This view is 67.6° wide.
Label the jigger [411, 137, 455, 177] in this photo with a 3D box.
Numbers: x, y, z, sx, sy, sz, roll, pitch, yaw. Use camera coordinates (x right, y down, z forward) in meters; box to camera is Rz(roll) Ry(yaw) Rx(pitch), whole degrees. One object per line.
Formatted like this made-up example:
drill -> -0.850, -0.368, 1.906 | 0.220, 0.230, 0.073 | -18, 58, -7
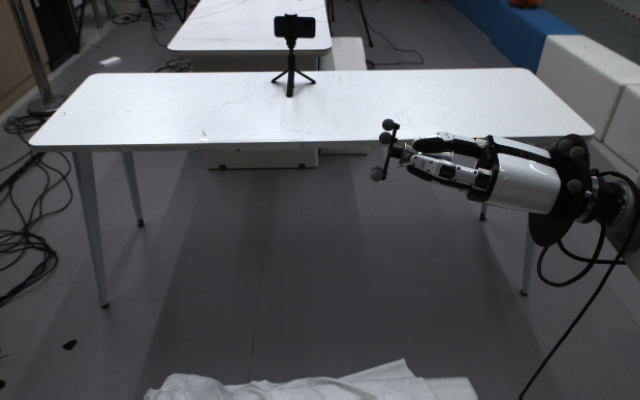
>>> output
jigger -> 0.154, -0.059, 0.681 | 0.071, 0.043, 0.043 | 14, 36, 4
